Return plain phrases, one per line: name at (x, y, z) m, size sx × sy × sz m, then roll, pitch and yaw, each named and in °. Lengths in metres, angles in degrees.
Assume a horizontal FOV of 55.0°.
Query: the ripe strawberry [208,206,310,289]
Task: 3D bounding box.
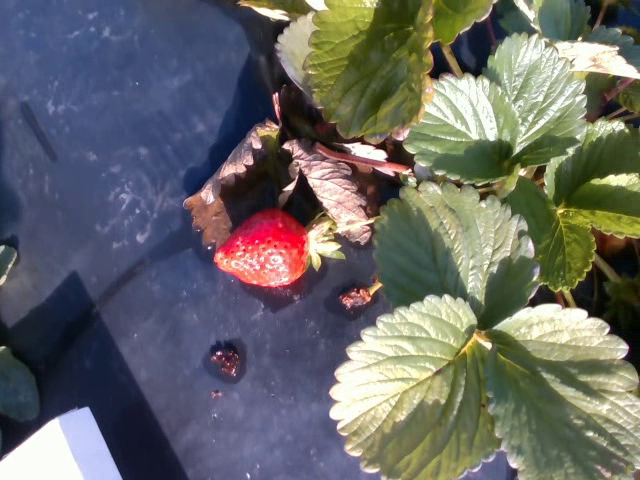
ripe strawberry at (-0.032, 0.007, 0.262) m, size 0.054 × 0.047 × 0.037 m, roll -12°, pitch -2°, yaw -15°
